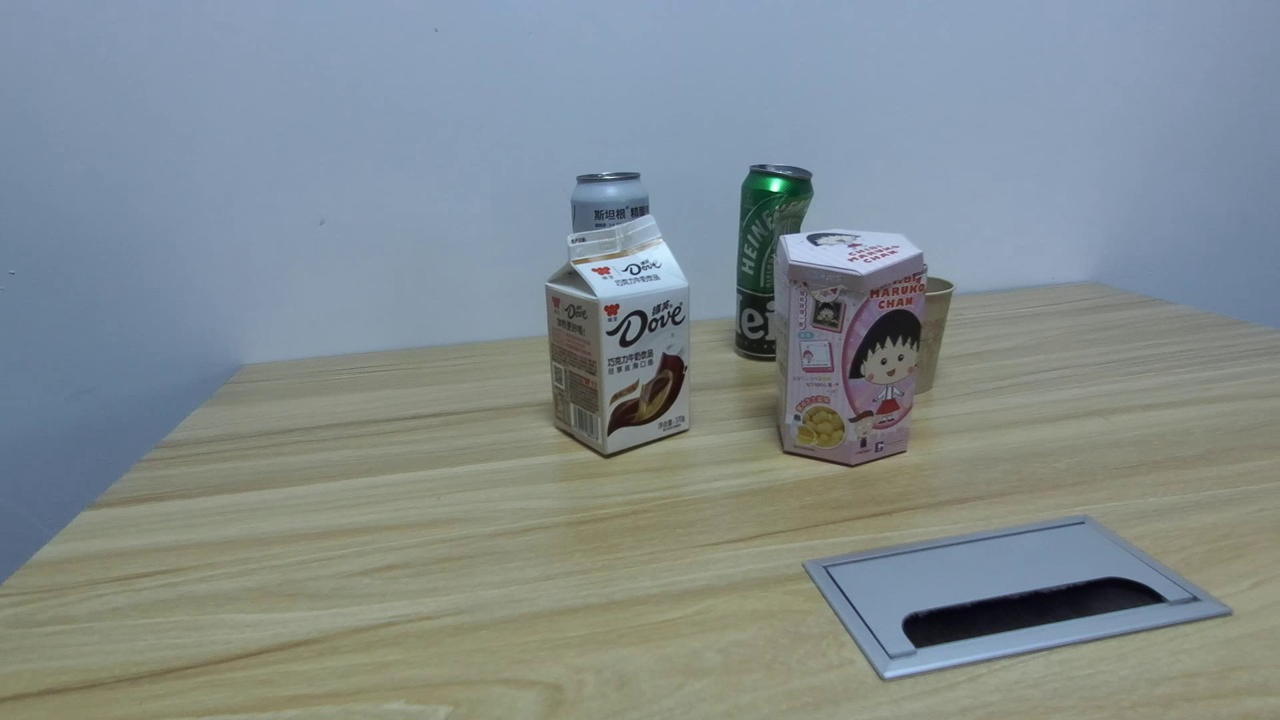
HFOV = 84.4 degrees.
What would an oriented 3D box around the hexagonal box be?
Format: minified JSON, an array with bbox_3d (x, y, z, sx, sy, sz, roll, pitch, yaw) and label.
[{"bbox_3d":[0.131,-0.010,0.460,0.092,0.135,0.084,-11,21,-23],"label":"hexagonal box"}]

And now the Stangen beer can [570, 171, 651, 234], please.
[{"bbox_3d":[-0.025,-0.077,0.621,0.067,0.171,0.067,-2,18,1],"label":"Stangen beer can"}]

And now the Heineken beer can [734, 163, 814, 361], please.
[{"bbox_3d":[0.122,-0.086,0.635,0.068,0.168,0.069,-4,20,-13],"label":"Heineken beer can"}]

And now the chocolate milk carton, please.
[{"bbox_3d":[-0.015,-0.021,0.489,0.076,0.148,0.073,-14,21,-33],"label":"chocolate milk carton"}]
